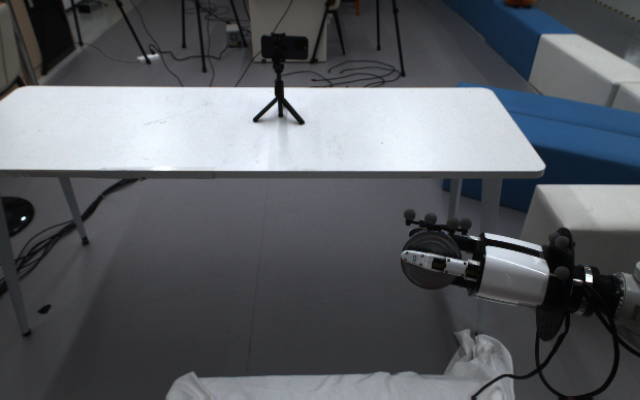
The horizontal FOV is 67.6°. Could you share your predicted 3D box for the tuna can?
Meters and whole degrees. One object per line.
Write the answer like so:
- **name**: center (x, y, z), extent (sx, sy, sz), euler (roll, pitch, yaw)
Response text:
- **tuna can**: center (0.164, 0.081, 0.705), extent (0.085, 0.085, 0.034), euler (10, 3, 12)
